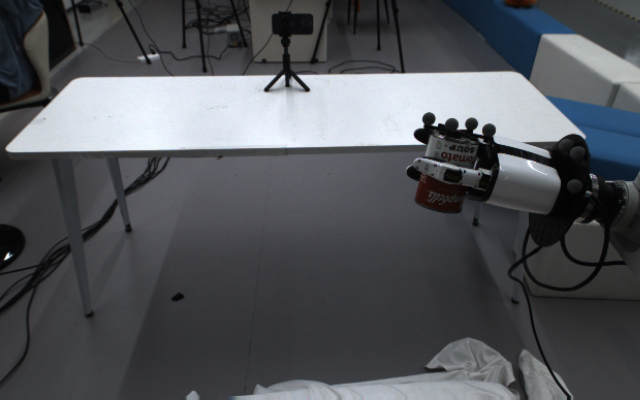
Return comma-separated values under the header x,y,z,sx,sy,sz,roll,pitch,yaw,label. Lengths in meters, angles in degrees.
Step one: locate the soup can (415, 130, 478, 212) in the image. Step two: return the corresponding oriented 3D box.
x,y,z,sx,sy,sz,roll,pitch,yaw,label
0.176,-0.041,0.671,0.067,0.101,0.067,9,19,-3,soup can
